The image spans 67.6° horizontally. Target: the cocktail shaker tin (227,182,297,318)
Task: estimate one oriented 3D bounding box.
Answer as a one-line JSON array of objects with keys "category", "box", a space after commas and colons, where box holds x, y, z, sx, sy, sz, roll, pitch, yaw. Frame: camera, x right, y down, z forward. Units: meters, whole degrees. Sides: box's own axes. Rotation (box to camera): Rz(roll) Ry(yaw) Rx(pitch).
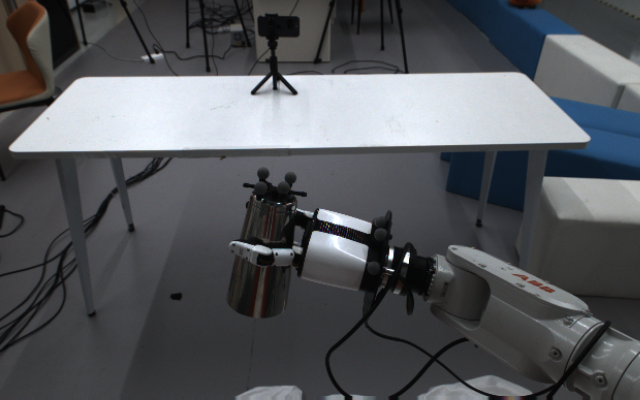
[{"category": "cocktail shaker tin", "box": [-0.078, 0.072, 0.700, 0.093, 0.170, 0.093, 10, 19, -4]}]
